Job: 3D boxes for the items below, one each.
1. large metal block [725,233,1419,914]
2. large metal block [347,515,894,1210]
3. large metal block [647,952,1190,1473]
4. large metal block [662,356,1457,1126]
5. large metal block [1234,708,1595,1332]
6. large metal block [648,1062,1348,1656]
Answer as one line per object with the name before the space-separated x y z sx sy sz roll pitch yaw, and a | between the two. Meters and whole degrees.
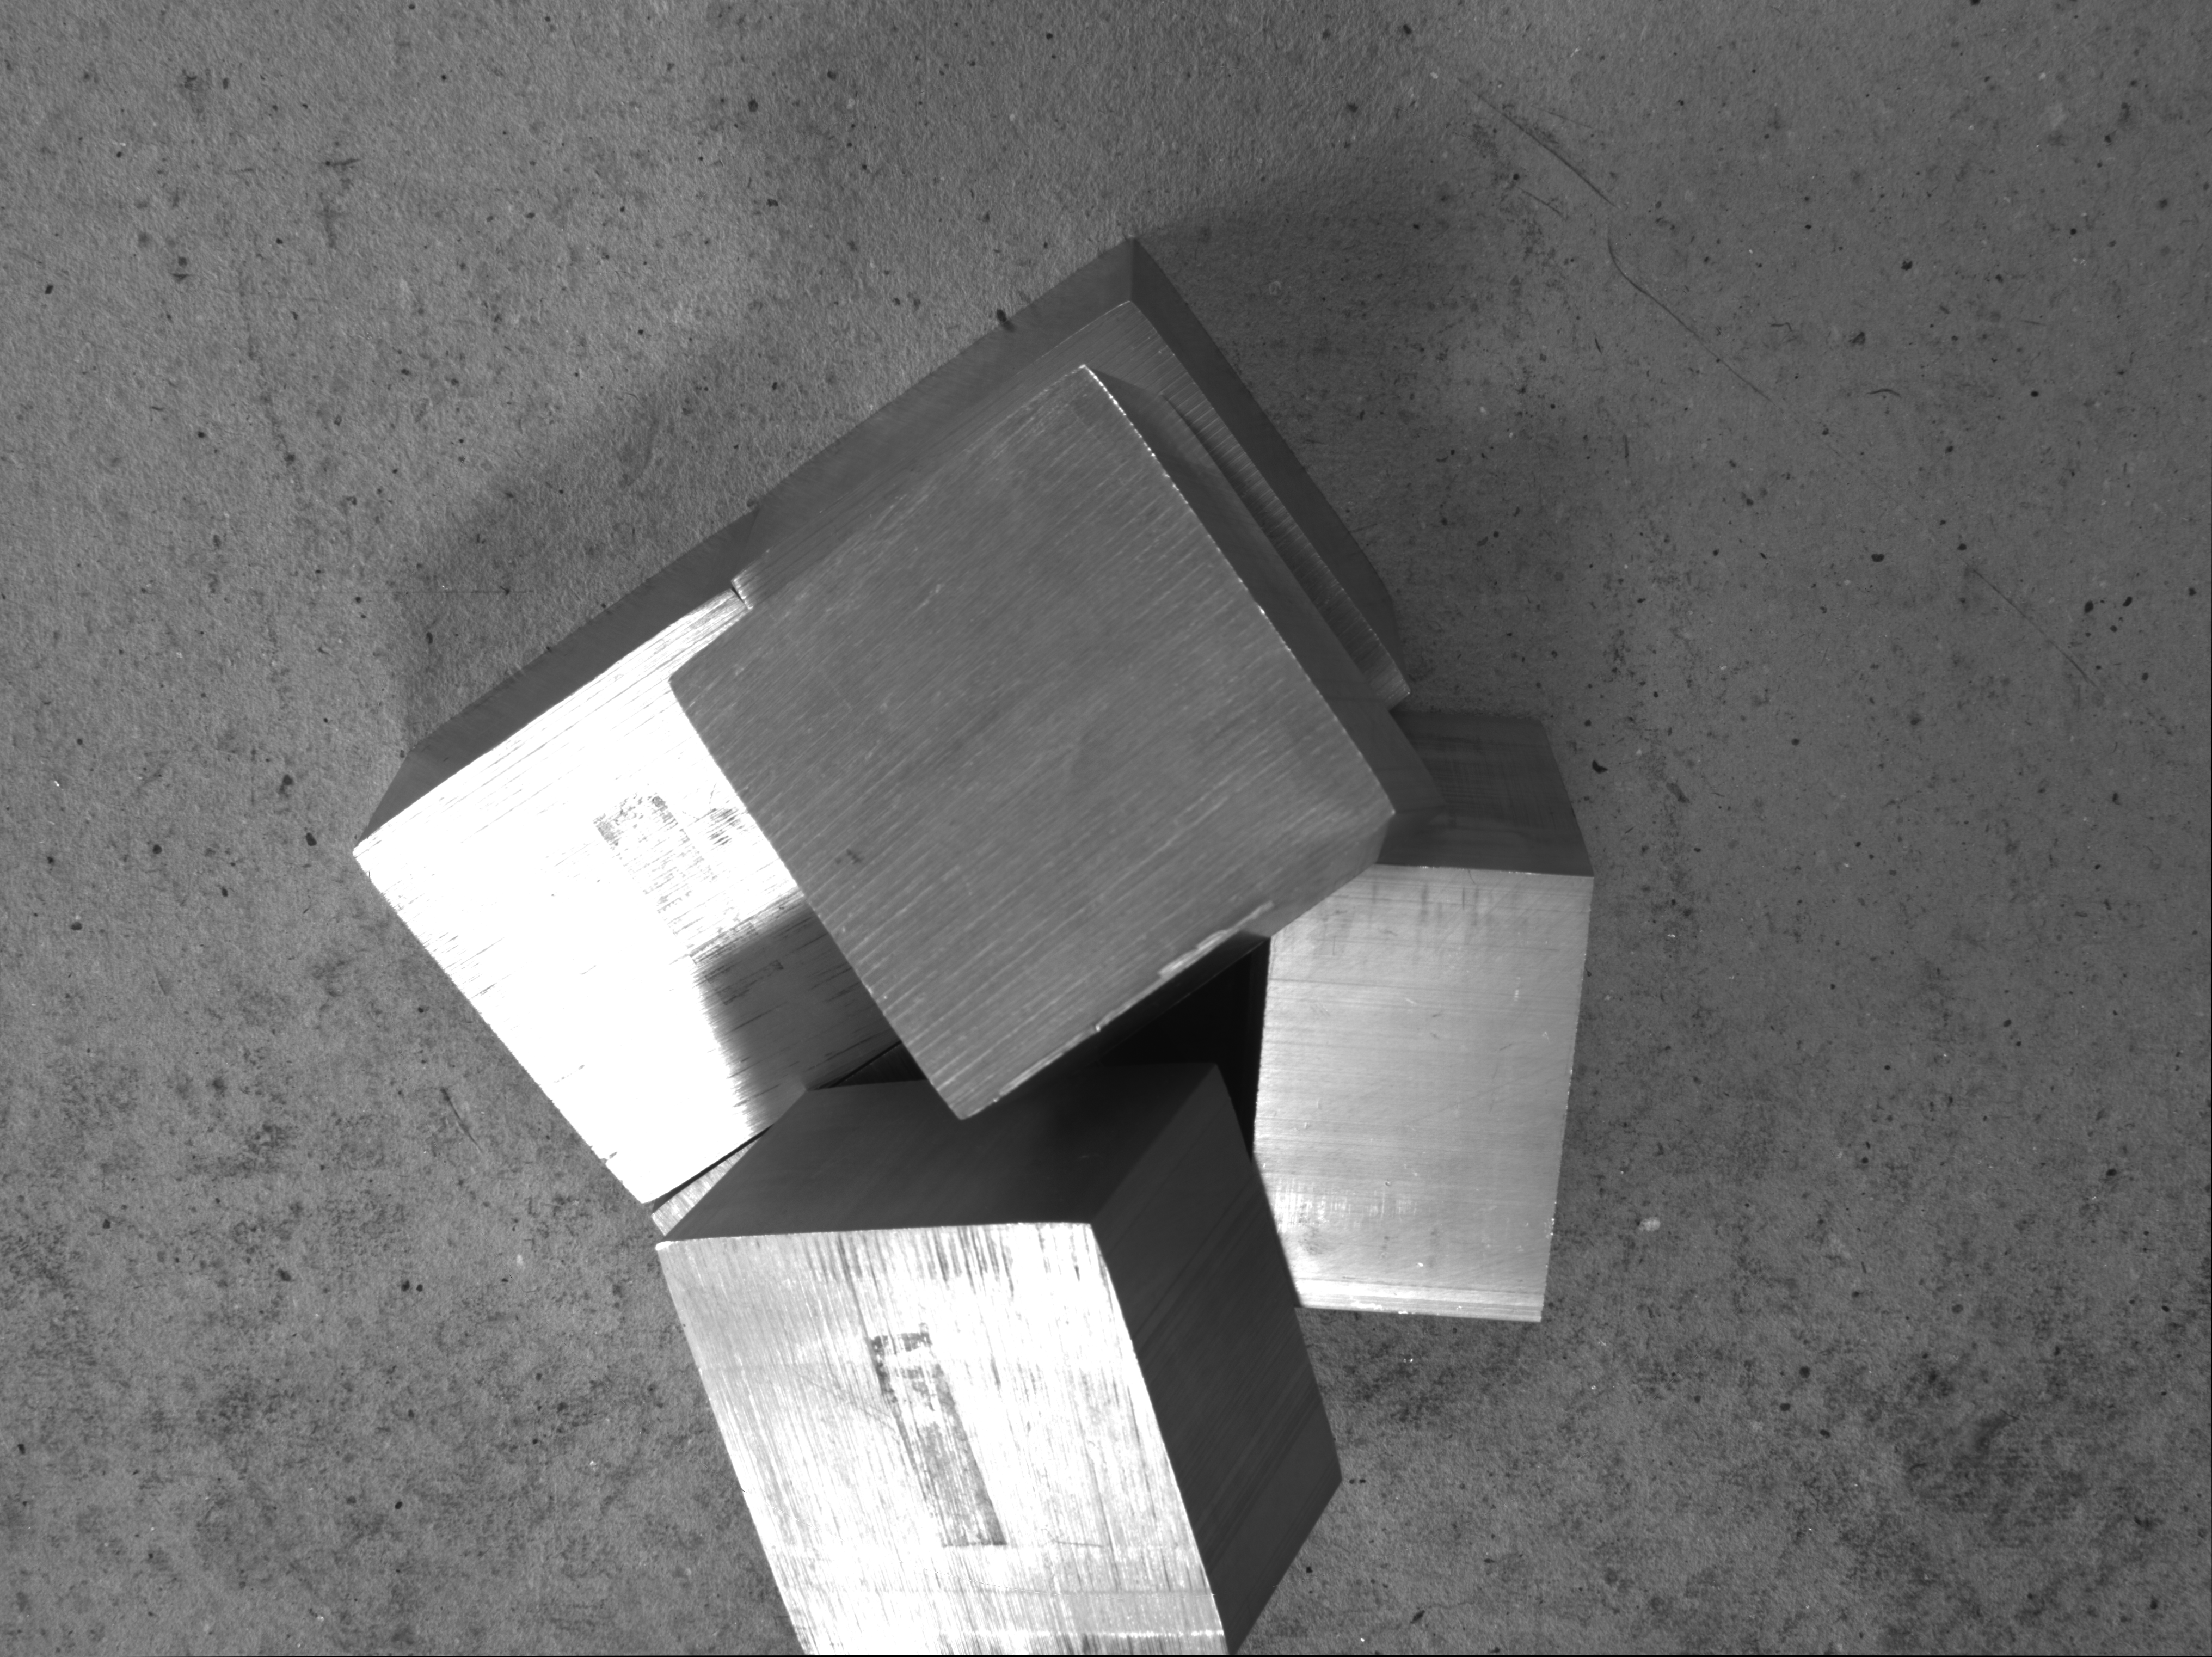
large metal block | -0.005 -0.040 0.614 0.080 0.050 0.080 -34 106 10
large metal block | -0.070 0.004 0.633 0.080 0.050 0.080 -34 107 11
large metal block | -0.023 0.065 0.655 0.080 0.050 0.080 -34 106 11
large metal block | -0.006 -0.013 0.556 0.080 0.050 0.080 -36 83 12
large metal block | 0.050 0.030 0.626 0.050 0.080 0.080 3 110 -1
large metal block | -0.016 0.087 0.593 0.080 0.050 0.080 -6 112 29
